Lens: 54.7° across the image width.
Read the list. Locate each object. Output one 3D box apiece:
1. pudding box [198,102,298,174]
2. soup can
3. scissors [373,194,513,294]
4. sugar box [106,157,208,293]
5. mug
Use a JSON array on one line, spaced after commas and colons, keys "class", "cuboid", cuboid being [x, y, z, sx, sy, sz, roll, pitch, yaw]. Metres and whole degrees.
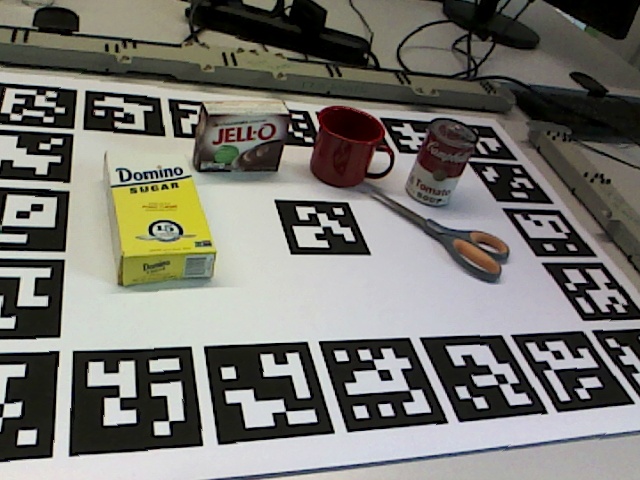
[{"class": "pudding box", "cuboid": [-0.095, -0.132, 0.794, 0.113, 0.090, 0.039, -7, 53, -26]}, {"class": "soup can", "cuboid": [0.162, -0.100, 0.857, 0.068, 0.102, 0.068, 9, 41, -8]}, {"class": "scissors", "cuboid": [0.156, -0.009, 0.806, 0.203, 0.016, 0.087, 34, 53, 16]}, {"class": "sugar box", "cuboid": [-0.184, -0.023, 0.686, 0.092, 0.045, 0.177, -3, 47, -20]}, {"class": "mug", "cuboid": [0.043, -0.126, 0.848, 0.118, 0.081, 0.093, 36, 46, 22]}]
